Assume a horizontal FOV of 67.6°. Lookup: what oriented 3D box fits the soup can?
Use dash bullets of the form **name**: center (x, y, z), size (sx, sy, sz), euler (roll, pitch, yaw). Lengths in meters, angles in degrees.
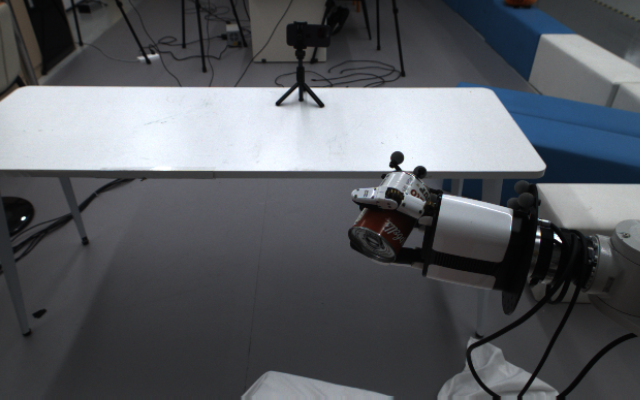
- **soup can**: center (0.091, 0.019, 0.615), size (0.067, 0.067, 0.101), euler (22, 60, 27)
